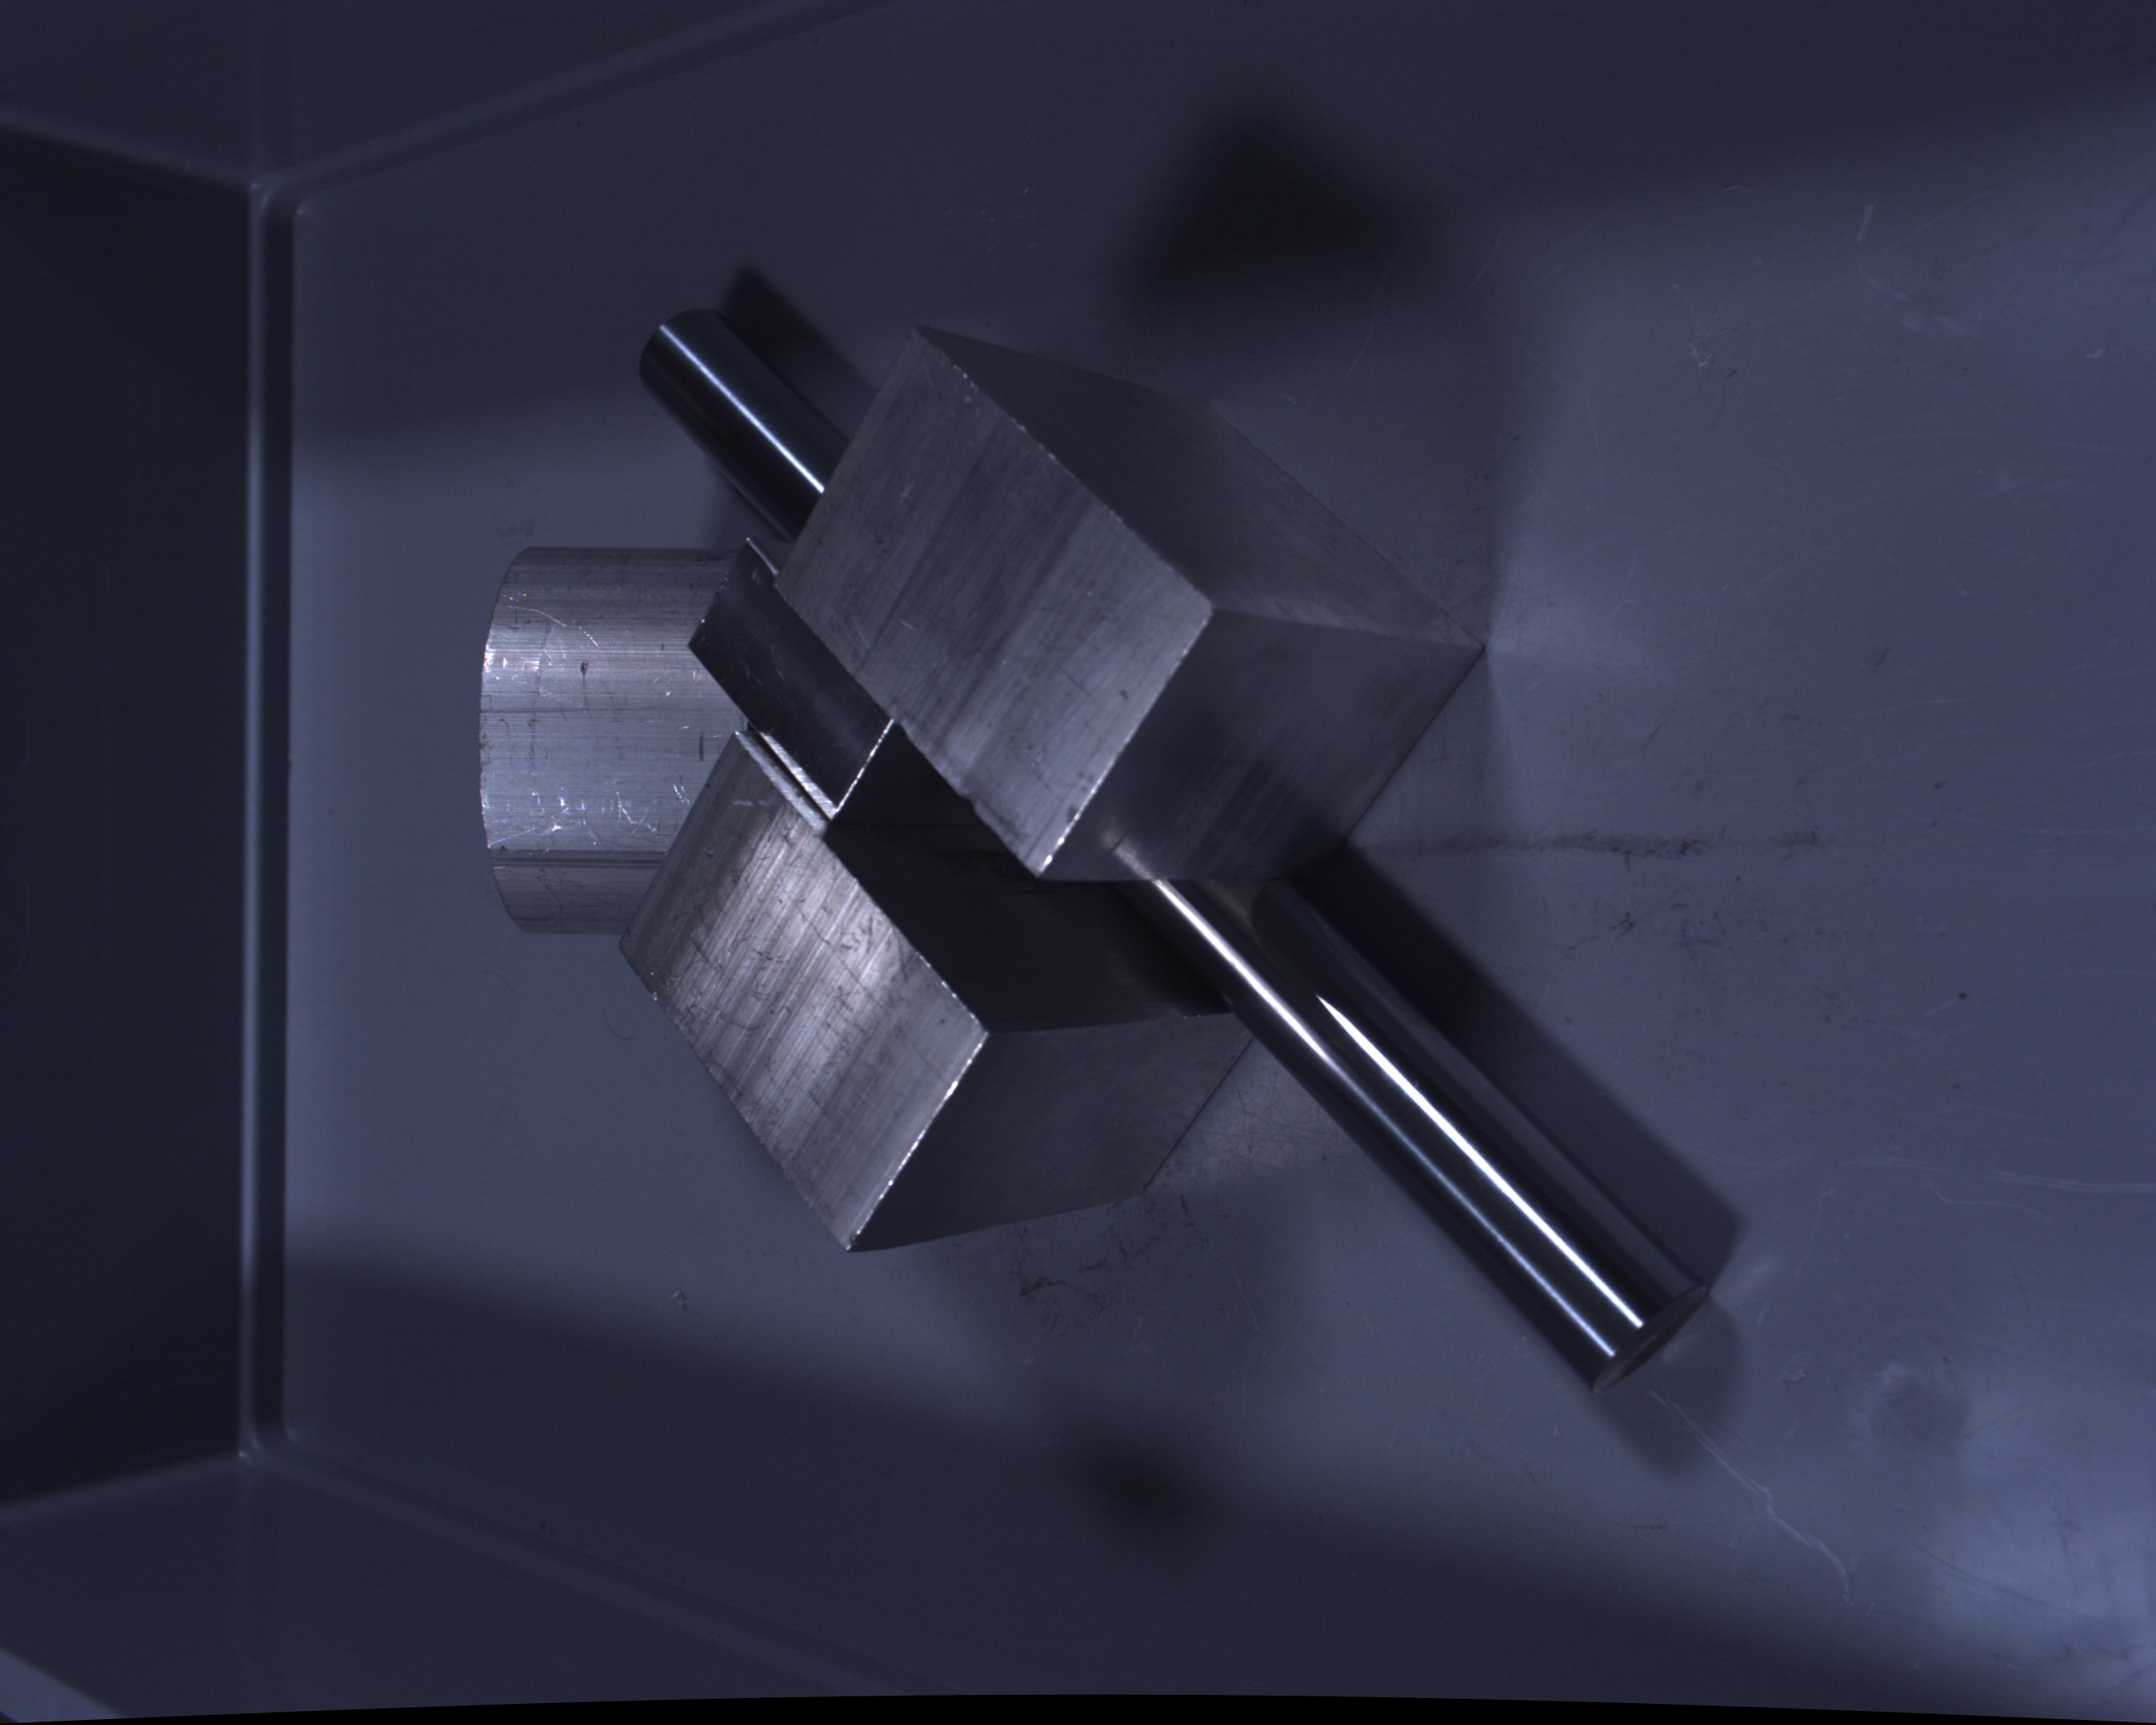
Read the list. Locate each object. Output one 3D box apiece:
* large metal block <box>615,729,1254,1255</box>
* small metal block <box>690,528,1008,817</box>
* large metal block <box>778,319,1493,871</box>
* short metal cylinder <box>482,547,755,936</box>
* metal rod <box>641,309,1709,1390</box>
[{"bbox_3d":[-0.024,0.021,0.388,0.080,0.081,0.050,47,118,29],"label":"large metal block"},{"bbox_3d":[-0.034,-0.034,0.385,0.050,0.050,0.025,48,119,29],"label":"small metal block"},{"bbox_3d":[0.010,-0.044,0.360,0.080,0.081,0.050,48,118,29],"label":"large metal block"},{"bbox_3d":[-0.086,-0.025,0.430,0.050,0.080,0.079,1,91,0],"label":"short metal cylinder"},{"bbox_3d":[0.001,-0.020,0.403,0.300,0.025,0.025,47,118,29],"label":"metal rod"}]
